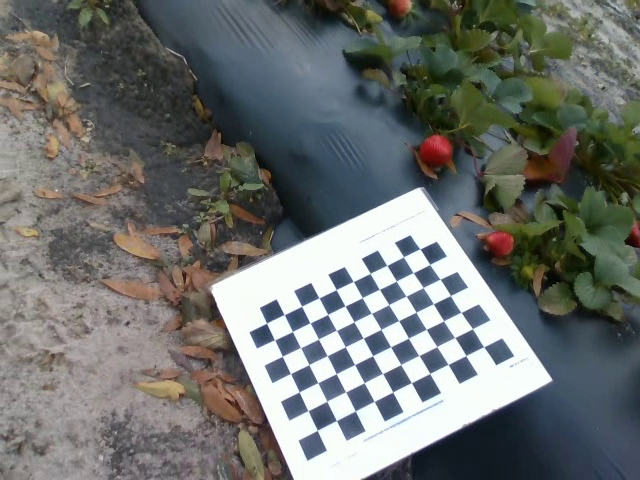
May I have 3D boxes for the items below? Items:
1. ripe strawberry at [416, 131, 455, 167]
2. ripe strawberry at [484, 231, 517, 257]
[{"bbox_3d":[0.160,-0.119,0.856,0.046,0.043,0.065,-22,12,-3],"label":"ripe strawberry"},{"bbox_3d":[0.222,0.005,0.788,0.042,0.041,0.037,12,-38,-44],"label":"ripe strawberry"}]
